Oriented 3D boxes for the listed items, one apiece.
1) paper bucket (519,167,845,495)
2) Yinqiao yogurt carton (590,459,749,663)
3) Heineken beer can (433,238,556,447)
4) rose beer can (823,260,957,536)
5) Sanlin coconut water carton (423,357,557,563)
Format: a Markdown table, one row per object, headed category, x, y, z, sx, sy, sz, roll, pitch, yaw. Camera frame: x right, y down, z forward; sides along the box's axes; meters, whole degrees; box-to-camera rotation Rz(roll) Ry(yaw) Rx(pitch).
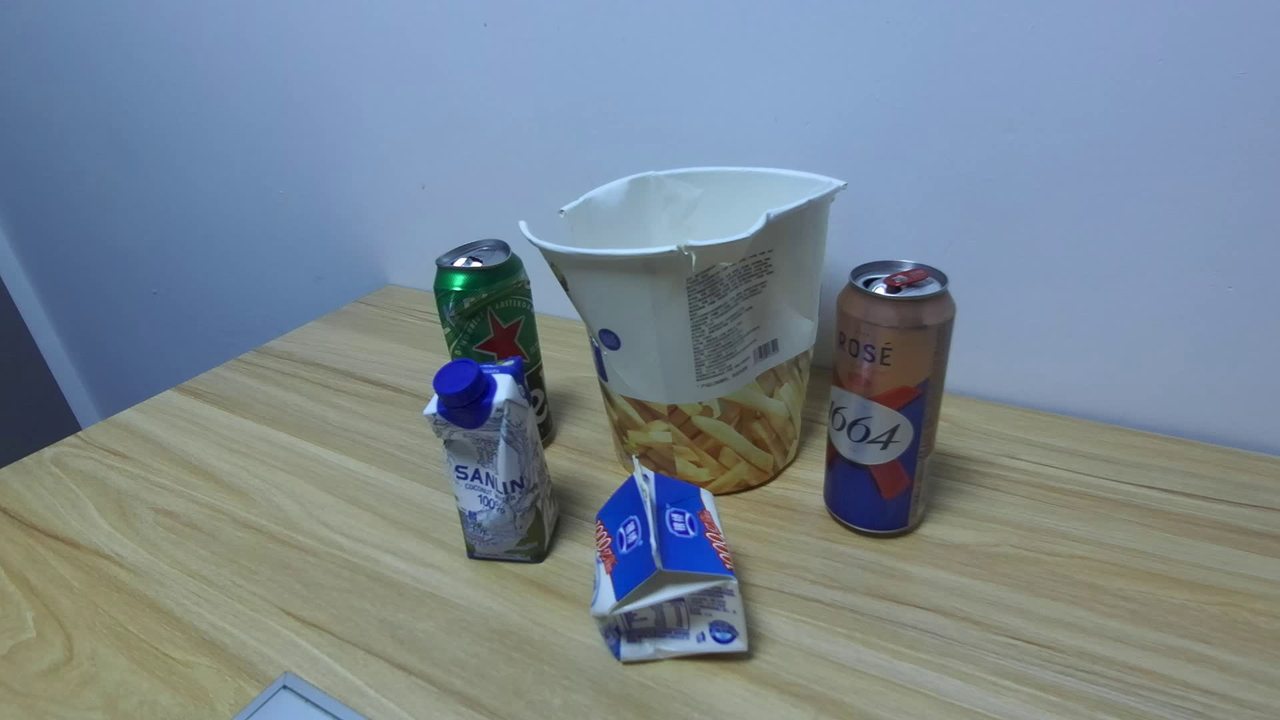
| category | x | y | z | sx | sy | sz | roll | pitch | yaw |
| --- | --- | --- | --- | --- | --- | --- | --- | --- | --- |
| paper bucket | 0.041 | -0.023 | 0.513 | 0.145 | 0.197 | 0.203 | 17 | 35 | 37 |
| Yinqiao yogurt carton | 0.009 | 0.109 | 0.385 | 0.080 | 0.097 | 0.074 | -14 | 28 | 1 |
| Heineken beer can | -0.108 | -0.006 | 0.546 | 0.078 | 0.164 | 0.066 | -18 | 30 | -19 |
| rose beer can | 0.152 | 0.028 | 0.440 | 0.068 | 0.169 | 0.068 | -3 | 27 | 2 |
| Sanlin coconut water carton | -0.093 | 0.058 | 0.446 | 0.060 | 0.144 | 0.070 | 0 | 29 | 12 |
